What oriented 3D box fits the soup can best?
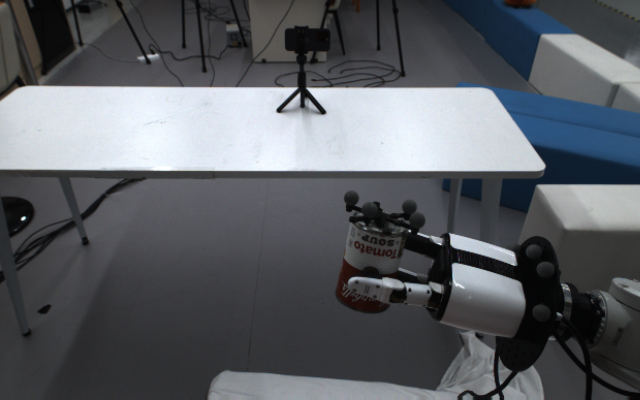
[{"bbox_3d":[0.062,0.069,0.566,0.067,0.101,0.067,9,20,-3],"label":"soup can"}]
